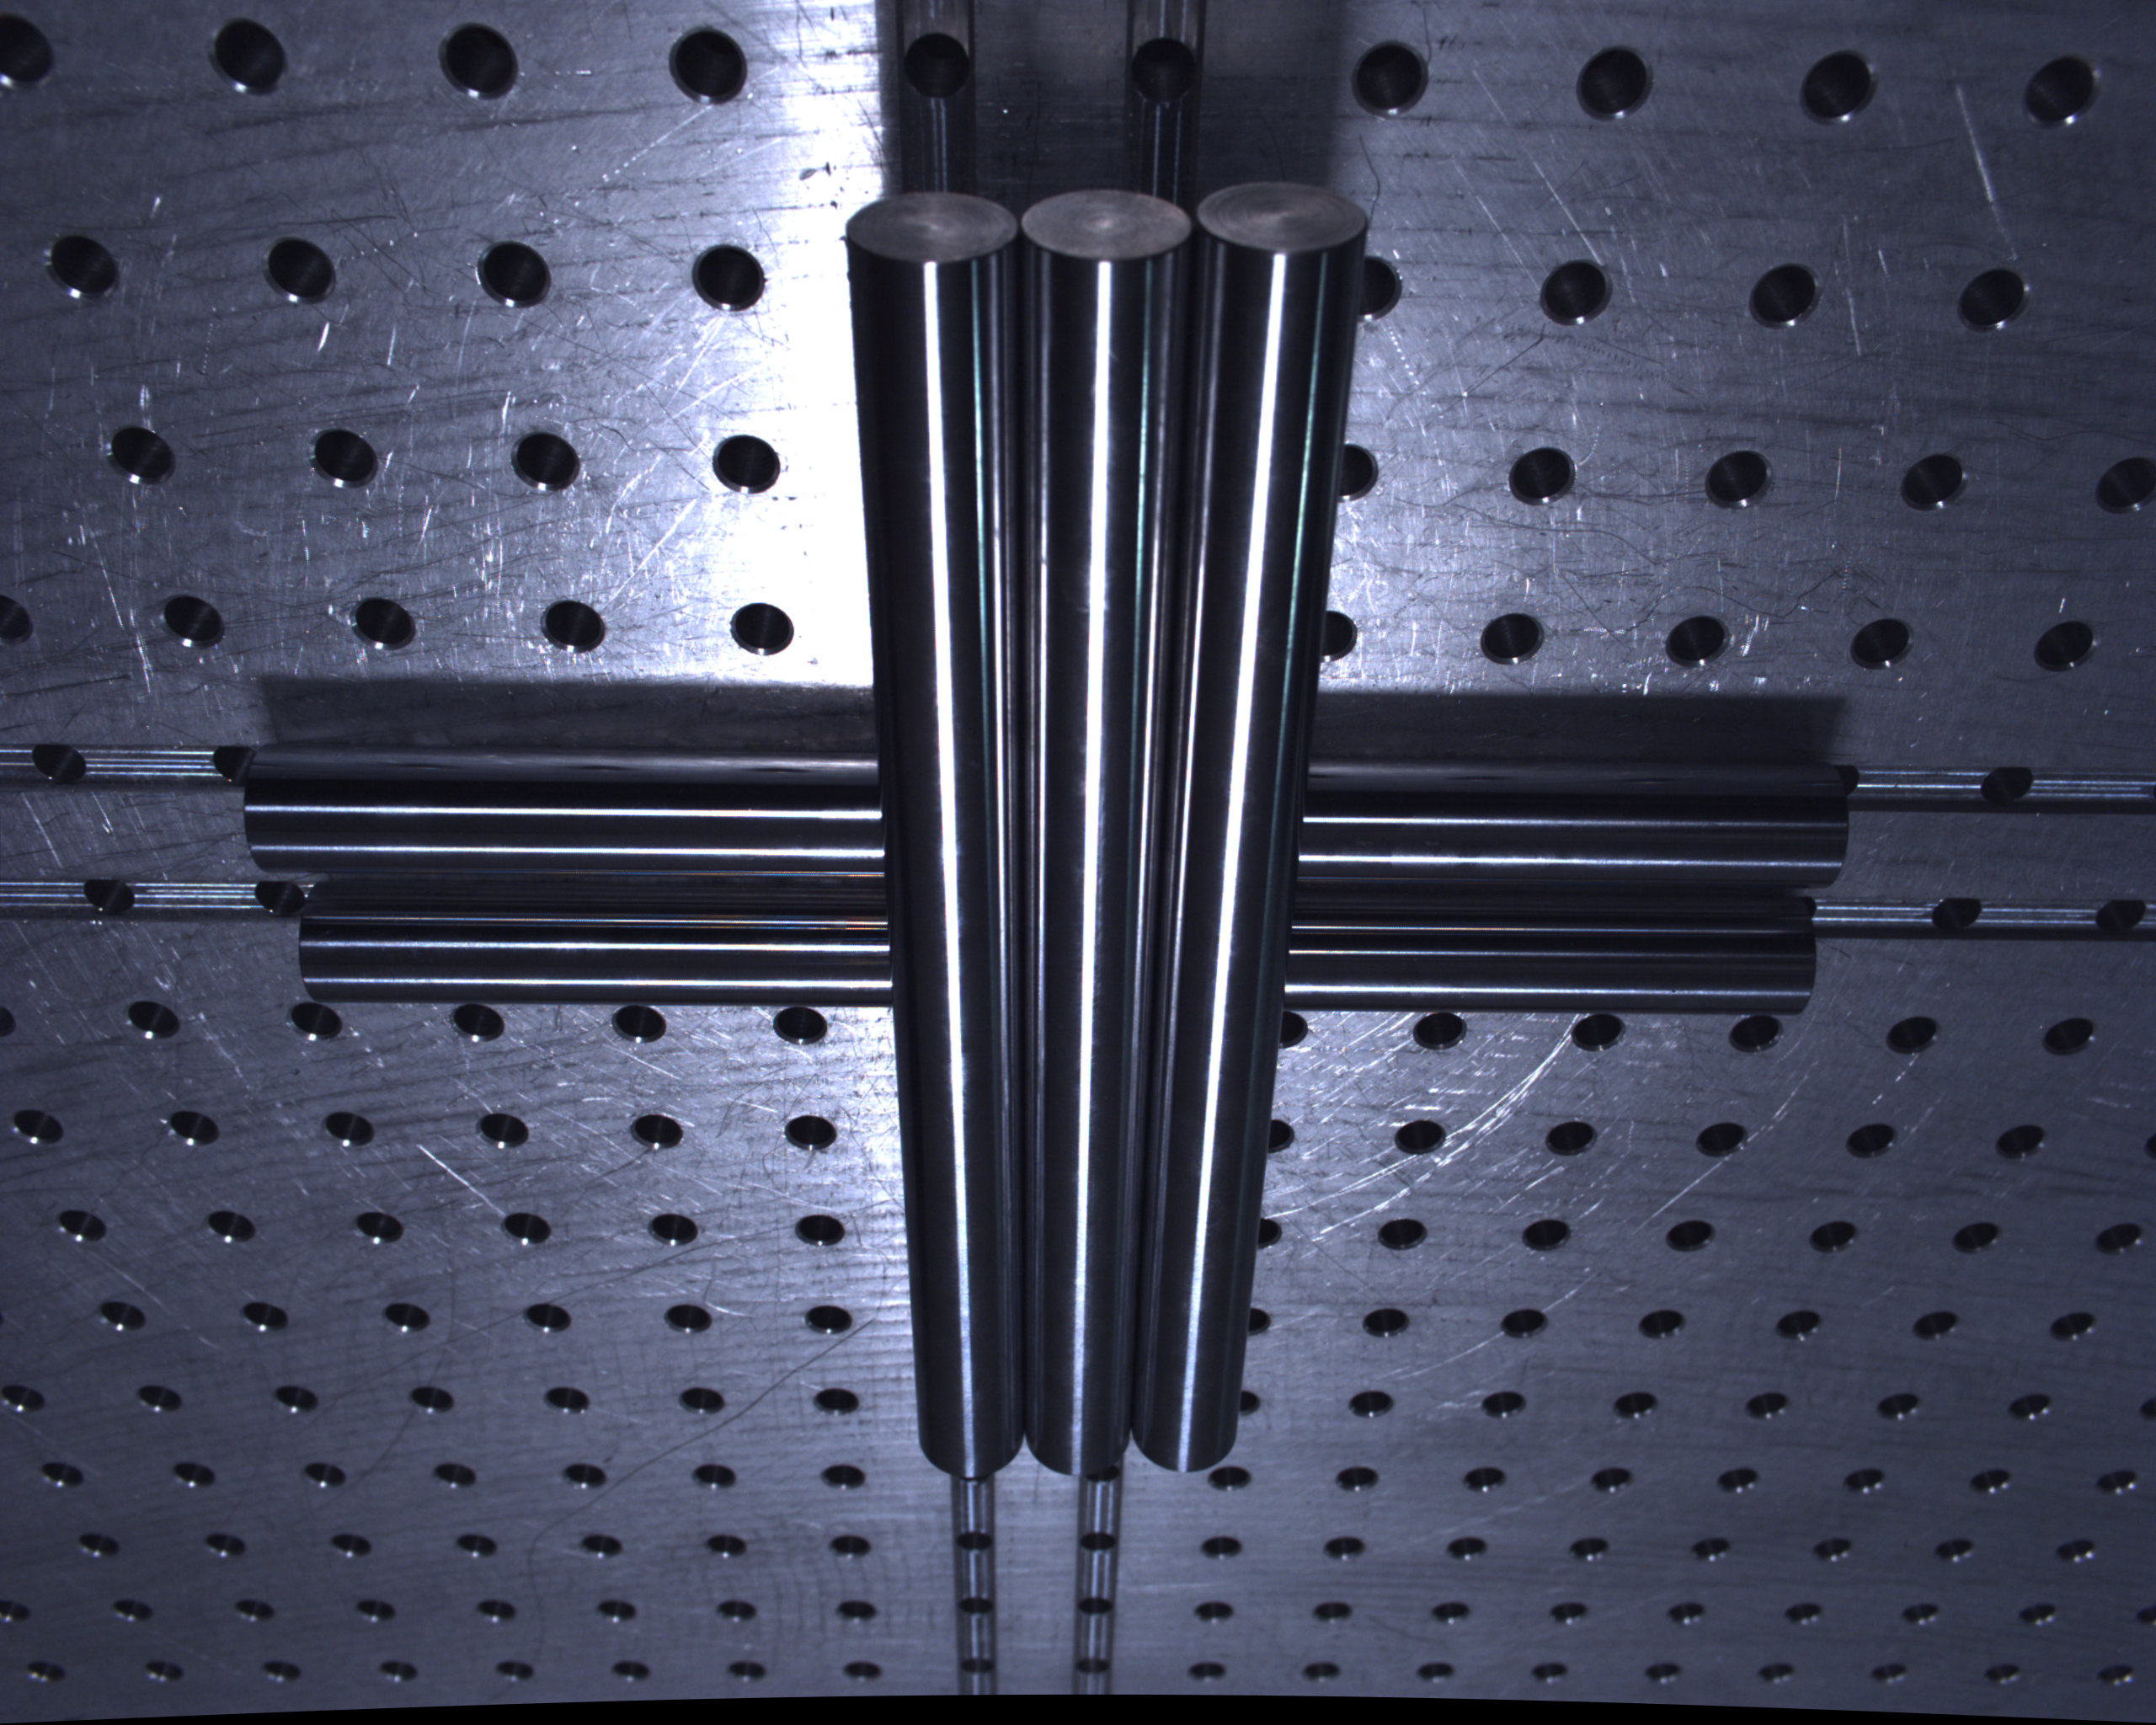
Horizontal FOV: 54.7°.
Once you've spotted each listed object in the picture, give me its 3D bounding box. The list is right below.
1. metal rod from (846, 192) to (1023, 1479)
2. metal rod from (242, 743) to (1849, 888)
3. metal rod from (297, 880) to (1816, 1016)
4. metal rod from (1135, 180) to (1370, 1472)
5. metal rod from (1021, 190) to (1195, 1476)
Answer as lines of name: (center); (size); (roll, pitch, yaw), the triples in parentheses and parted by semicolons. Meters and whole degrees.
metal rod: (-0.023, 0.022, 0.397); (0.025, 0.025, 0.298); (0, 130, -1)
metal rod: (-0.005, -0.009, 0.404); (0.302, 0.025, 0.025); (1, 130, -1)
metal rod: (-0.003, 0.018, 0.427); (0.302, 0.025, 0.025); (1, 130, -1)
metal rod: (0.027, 0.020, 0.397); (0.025, 0.025, 0.298); (0, 130, -1)
metal rod: (0.002, 0.021, 0.397); (0.025, 0.025, 0.298); (0, 130, -1)
